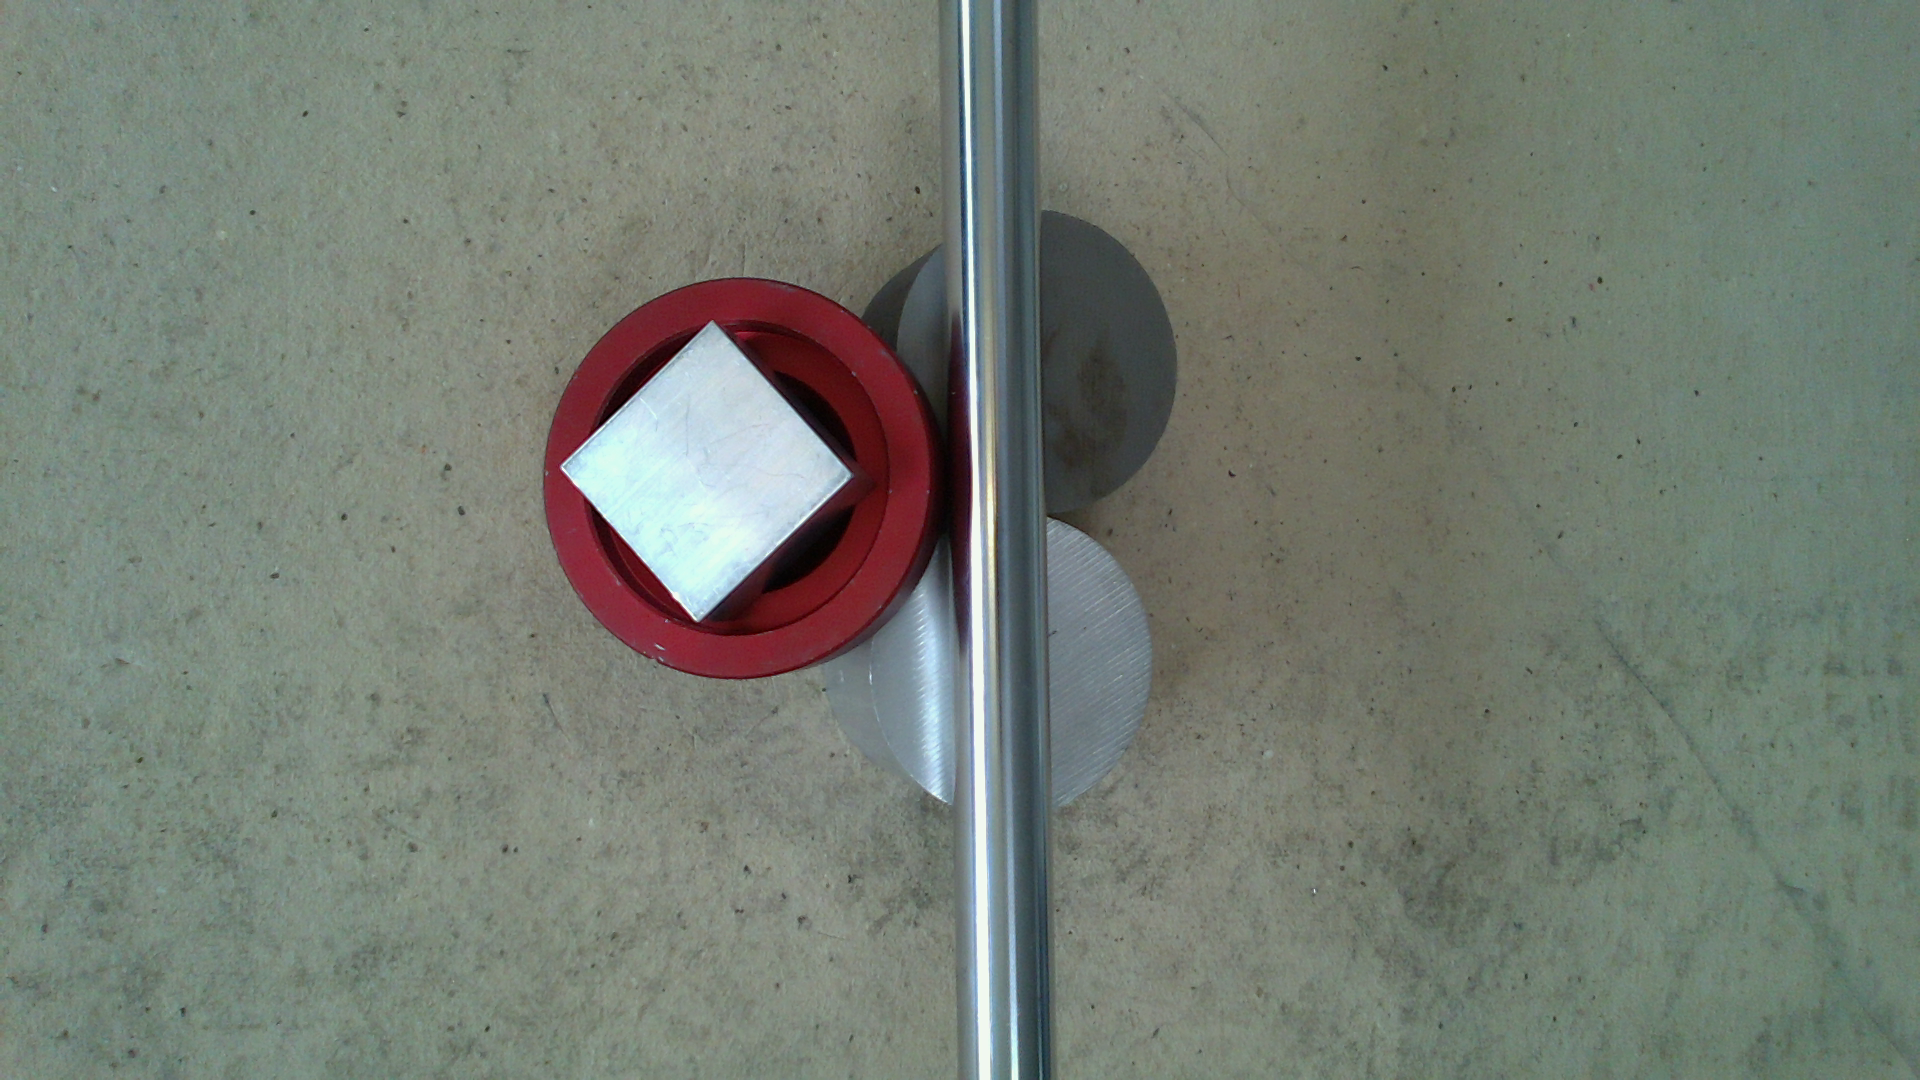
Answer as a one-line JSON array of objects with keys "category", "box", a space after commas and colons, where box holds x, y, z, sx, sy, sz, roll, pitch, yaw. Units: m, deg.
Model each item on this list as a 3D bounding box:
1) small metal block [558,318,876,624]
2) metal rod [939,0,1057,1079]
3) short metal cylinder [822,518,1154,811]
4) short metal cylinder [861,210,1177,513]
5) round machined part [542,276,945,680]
[{"category": "small metal block", "box": [-0.057, -0.016, 0.329, 0.050, 0.025, 0.050, -43, 82, 5]}, {"category": "metal rod", "box": [0.009, -0.011, 0.344, 0.025, 0.025, 0.300, -1, 90, -20]}, {"category": "short metal cylinder", "box": [0.006, 0.034, 0.382, 0.080, 0.050, 0.080, 0, 89, -20]}, {"category": "short metal cylinder", "box": [0.013, -0.047, 0.385, 0.080, 0.050, 0.080, 0, 90, -20]}, {"category": "round machined part", "box": [-0.052, -0.014, 0.352, 0.098, 0.042, 0.098, 0, 88, 9]}]
